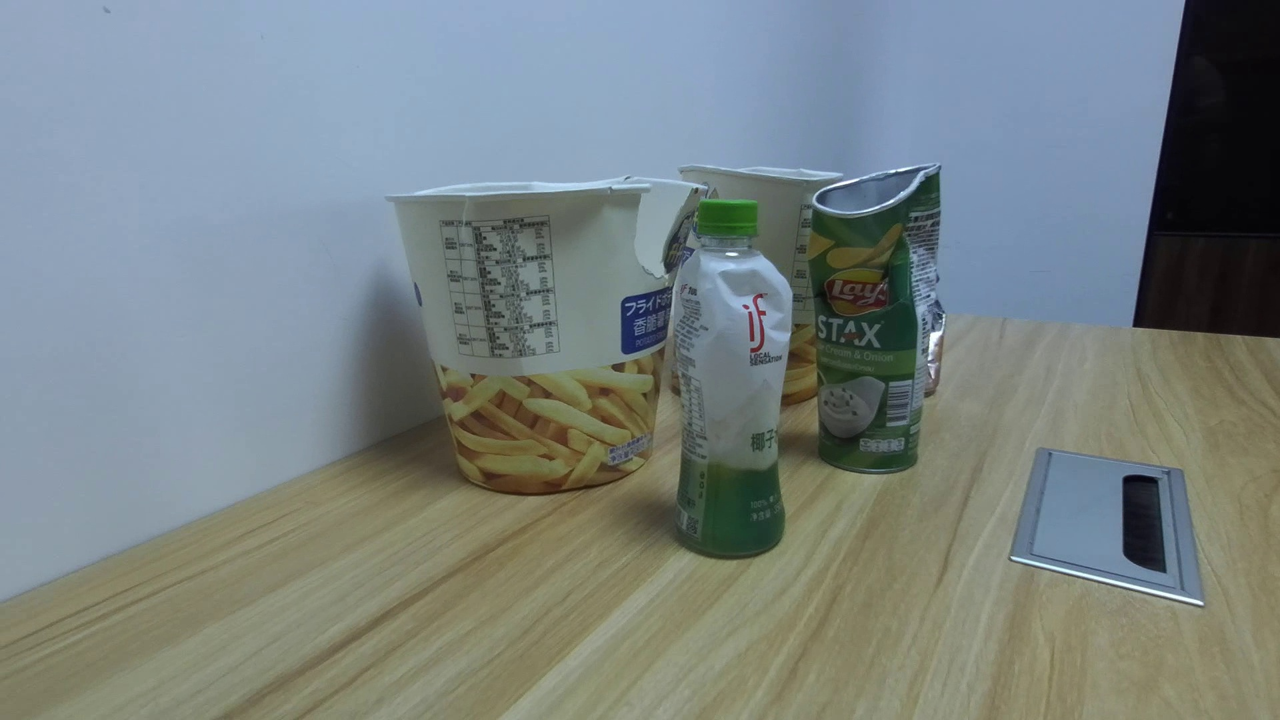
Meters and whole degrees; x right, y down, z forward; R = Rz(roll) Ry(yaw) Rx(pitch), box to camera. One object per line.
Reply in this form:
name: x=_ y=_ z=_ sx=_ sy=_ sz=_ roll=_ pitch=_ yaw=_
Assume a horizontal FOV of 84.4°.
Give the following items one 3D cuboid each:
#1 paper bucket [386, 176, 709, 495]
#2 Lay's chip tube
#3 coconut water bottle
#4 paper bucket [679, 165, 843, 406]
paper bucket: x=-0.062 y=-0.025 z=0.503 sx=0.203 sy=0.197 sz=0.145 roll=-6 pitch=18 yaw=-9
Lay's chip tube: x=0.152 y=-0.022 z=0.465 sx=0.079 sy=0.199 sz=0.071 roll=2 pitch=25 yaw=21
coconut water bottle: x=0.049 y=0.009 z=0.383 sx=0.067 sy=0.187 sz=0.067 roll=-2 pitch=15 yaw=1
paper bucket: x=0.091 y=-0.073 z=0.631 sx=0.148 sy=0.199 sz=0.217 roll=-17 pitch=22 yaw=-42
